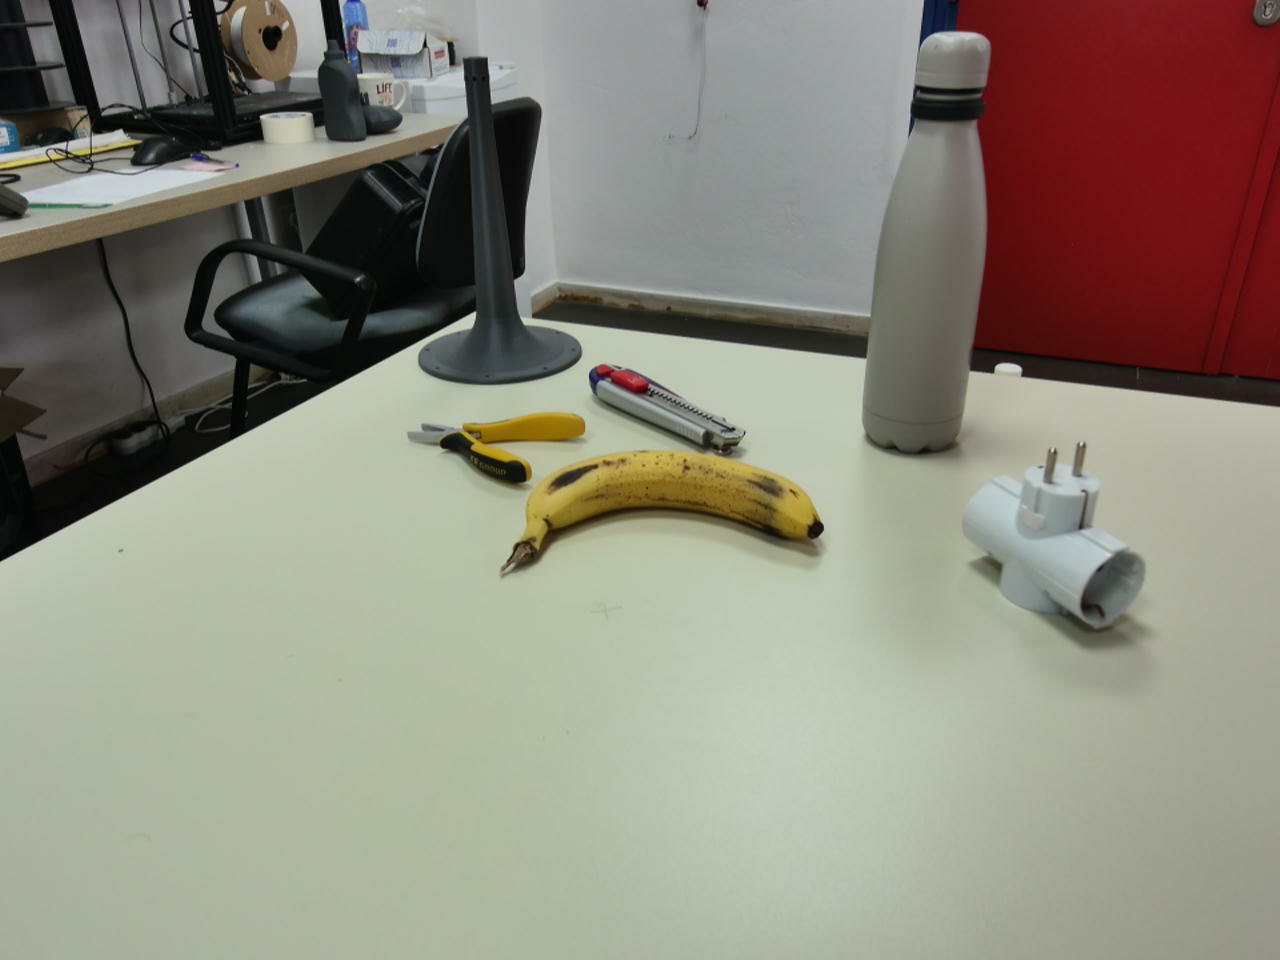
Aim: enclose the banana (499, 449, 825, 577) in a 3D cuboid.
[{"bbox_3d":[0.012,0.013,0.618,0.186,0.038,0.097,-2,26,-3],"label":"banana"}]
